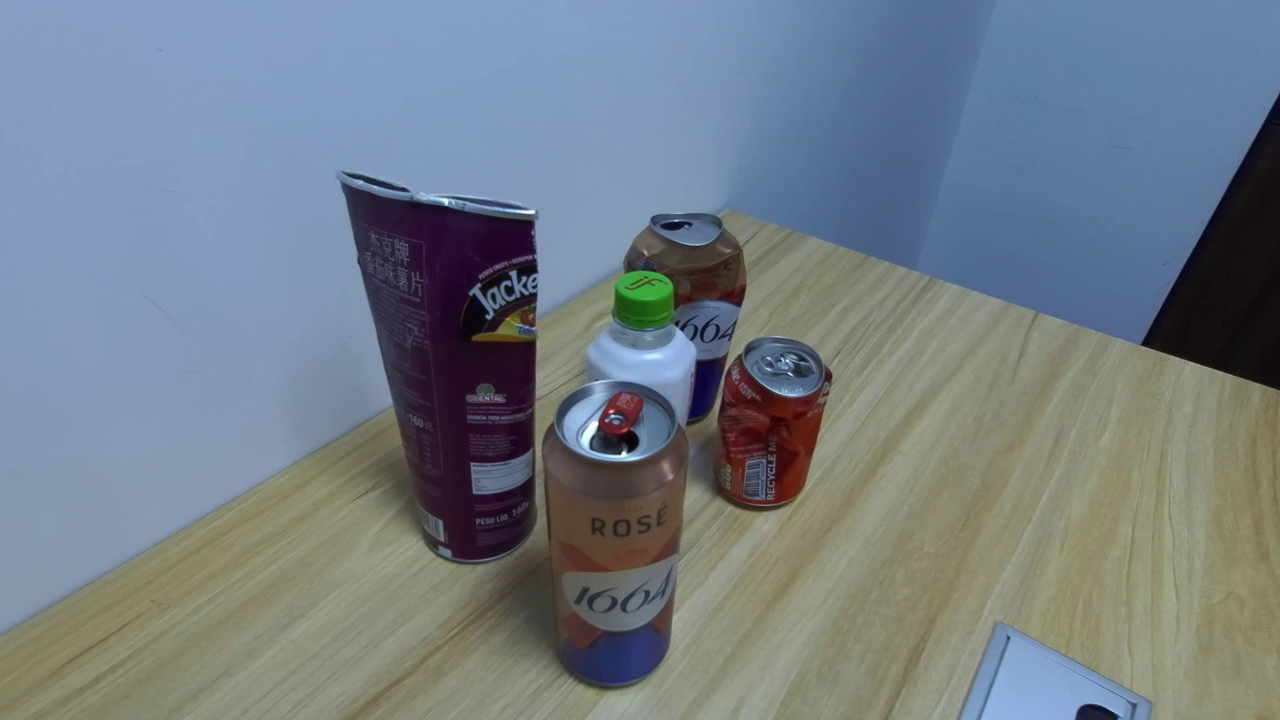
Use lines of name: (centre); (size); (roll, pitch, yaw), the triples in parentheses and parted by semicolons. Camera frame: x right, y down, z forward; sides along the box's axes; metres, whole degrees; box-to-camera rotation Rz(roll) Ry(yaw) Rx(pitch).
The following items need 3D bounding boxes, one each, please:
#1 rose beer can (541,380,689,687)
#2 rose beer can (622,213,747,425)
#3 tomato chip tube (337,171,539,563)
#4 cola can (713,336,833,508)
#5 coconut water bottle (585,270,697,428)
rose beer can: (-0.013, 0.095, 0.363); (0.068, 0.169, 0.068); (1, 36, -1)
rose beer can: (0.031, -0.028, 0.530); (0.067, 0.162, 0.074); (28, 41, 34)
tomato chip tube: (-0.102, 0.014, 0.407); (0.078, 0.236, 0.089); (-16, 39, -24)
cola can: (0.086, 0.043, 0.479); (0.069, 0.112, 0.066); (15, 37, 16)
coconut water bottle: (-0.001, 0.037, 0.416); (0.063, 0.189, 0.063); (1, 35, -1)
